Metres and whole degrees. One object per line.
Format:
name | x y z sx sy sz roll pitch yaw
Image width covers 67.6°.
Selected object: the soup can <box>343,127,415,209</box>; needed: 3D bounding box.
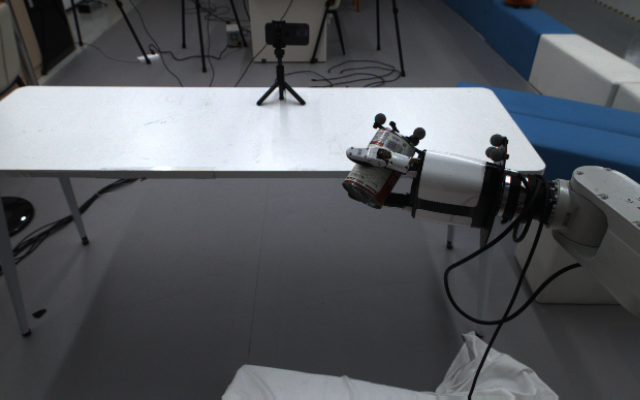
soup can | 0.088 -0.048 0.718 0.067 0.067 0.101 27 78 32
